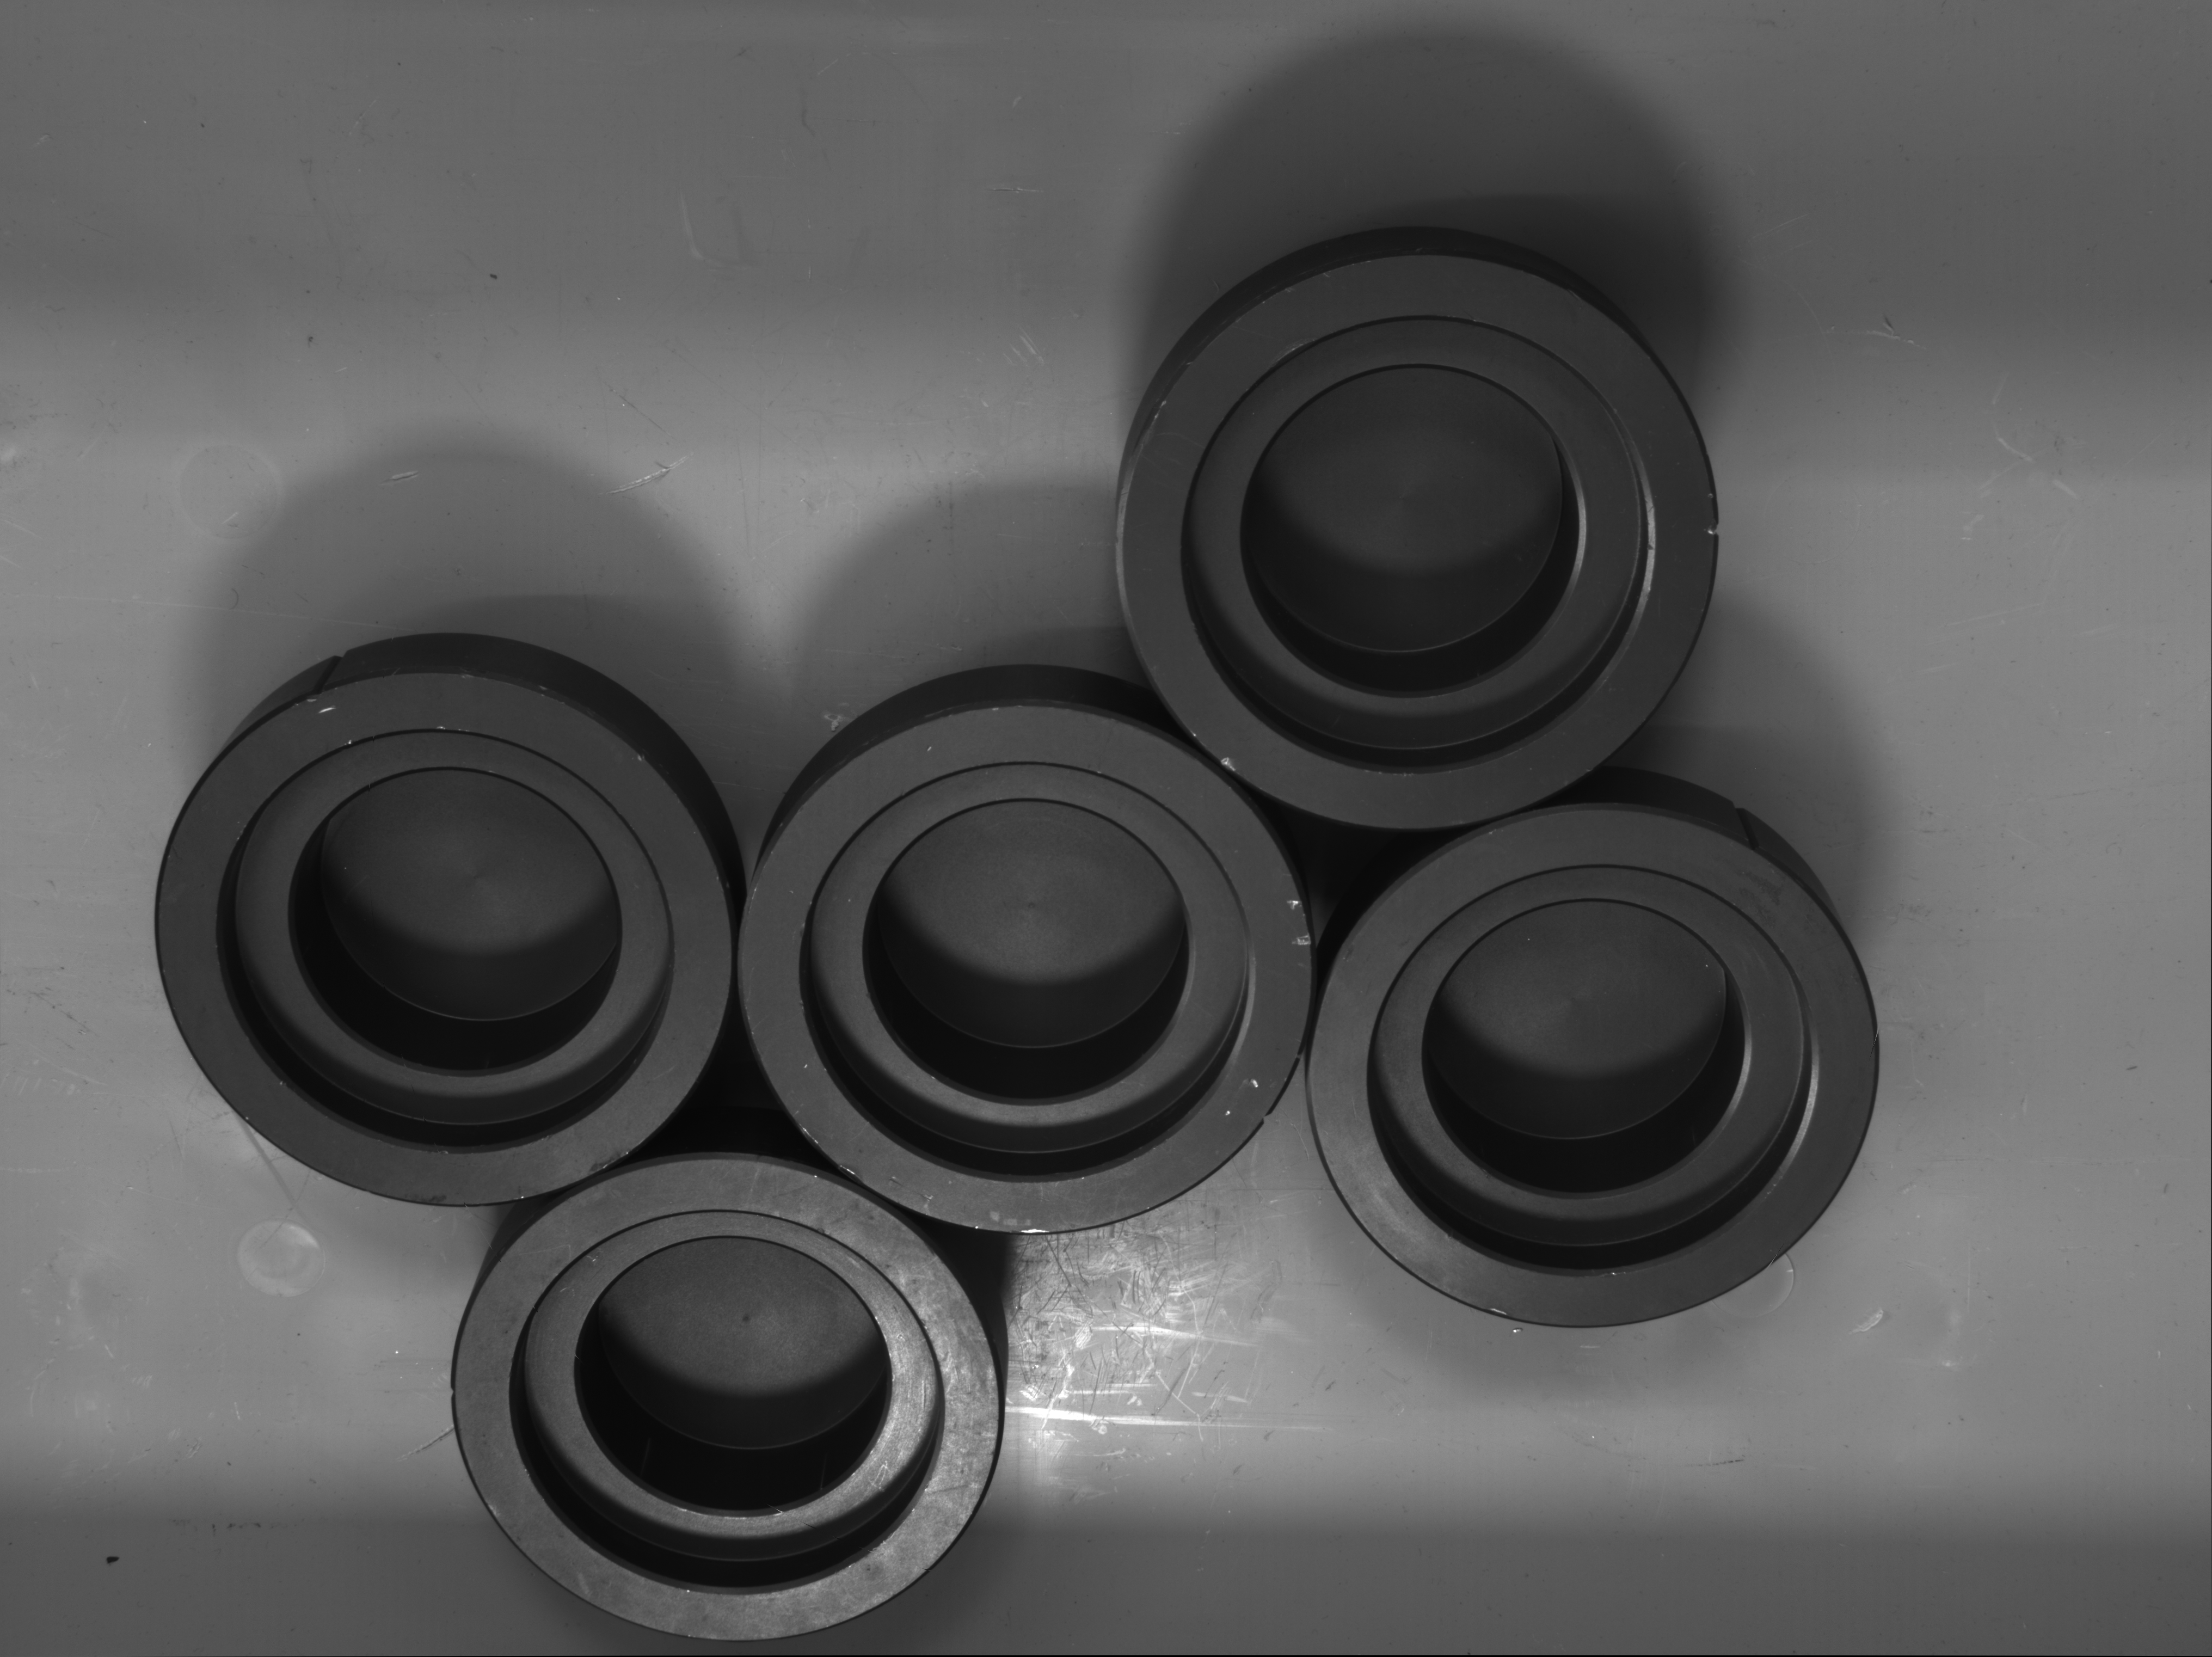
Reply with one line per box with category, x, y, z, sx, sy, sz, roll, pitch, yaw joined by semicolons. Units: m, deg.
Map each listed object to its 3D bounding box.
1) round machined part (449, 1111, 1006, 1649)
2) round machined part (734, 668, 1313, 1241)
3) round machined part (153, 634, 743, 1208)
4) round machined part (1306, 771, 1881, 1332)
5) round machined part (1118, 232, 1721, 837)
round machined part;-0.067;0.096;0.666;0.098;0.042;0.098;0;110;0
round machined part;-0.014;0.019;0.638;0.098;0.042;0.098;0;110;0
round machined part;-0.111;0.013;0.637;0.098;0.042;0.098;0;110;0
round machined part;0.083;0.036;0.645;0.098;0.042;0.098;0;110;0
round machined part;0.051;-0.051;0.614;0.098;0.042;0.098;0;110;0
